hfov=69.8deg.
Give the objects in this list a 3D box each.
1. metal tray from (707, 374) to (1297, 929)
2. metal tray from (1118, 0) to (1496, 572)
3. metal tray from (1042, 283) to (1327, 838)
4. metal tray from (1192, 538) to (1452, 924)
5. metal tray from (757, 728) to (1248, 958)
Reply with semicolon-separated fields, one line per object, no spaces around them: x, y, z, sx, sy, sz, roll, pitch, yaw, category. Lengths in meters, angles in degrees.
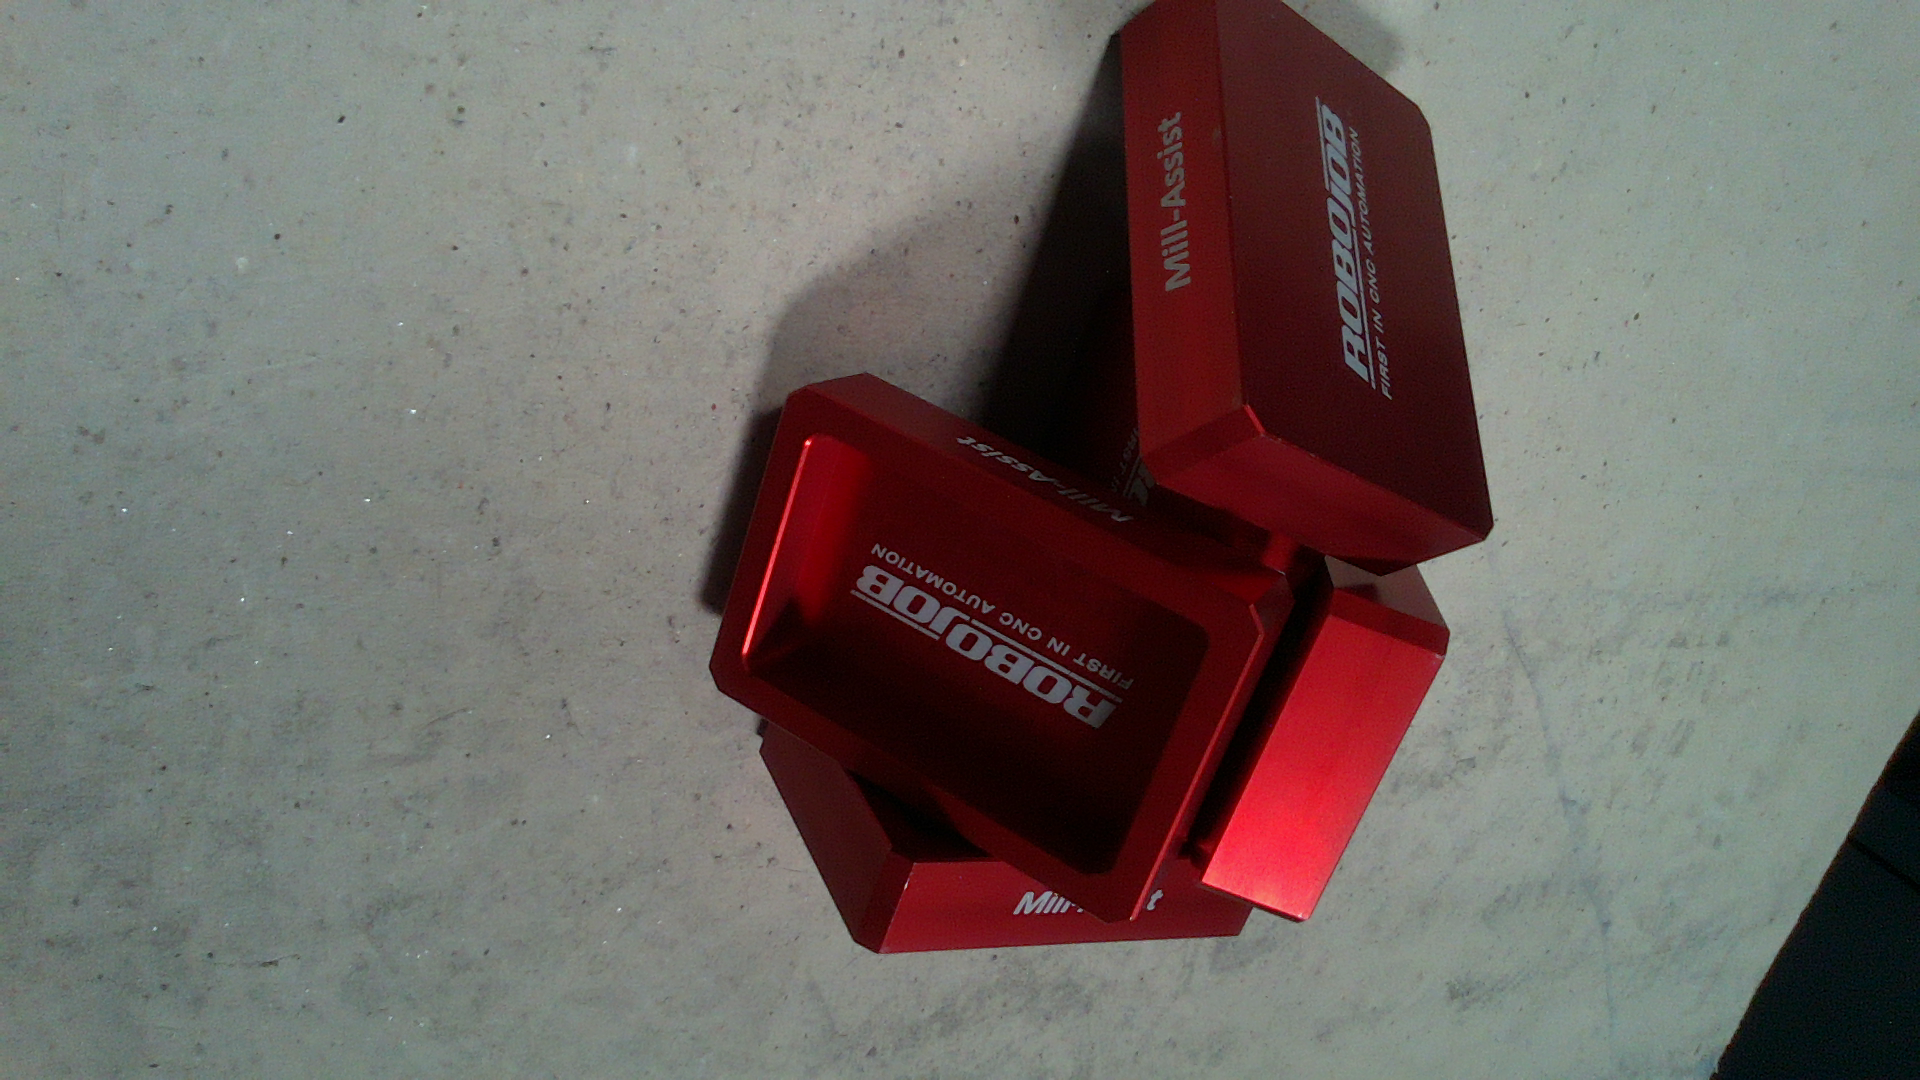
0.006;0.025;0.345;0.030;0.130;0.090;-25;139;-61;metal tray
0.083;-0.065;0.335;0.090;0.130;0.030;19;150;-35;metal tray
0.052;0.006;0.379;0.030;0.090;0.130;7;115;-31;metal tray
0.096;0.035;0.399;0.030;0.130;0.090;20;112;0;metal tray
0.017;0.076;0.403;0.130;0.090;0.030;7;115;-31;metal tray
